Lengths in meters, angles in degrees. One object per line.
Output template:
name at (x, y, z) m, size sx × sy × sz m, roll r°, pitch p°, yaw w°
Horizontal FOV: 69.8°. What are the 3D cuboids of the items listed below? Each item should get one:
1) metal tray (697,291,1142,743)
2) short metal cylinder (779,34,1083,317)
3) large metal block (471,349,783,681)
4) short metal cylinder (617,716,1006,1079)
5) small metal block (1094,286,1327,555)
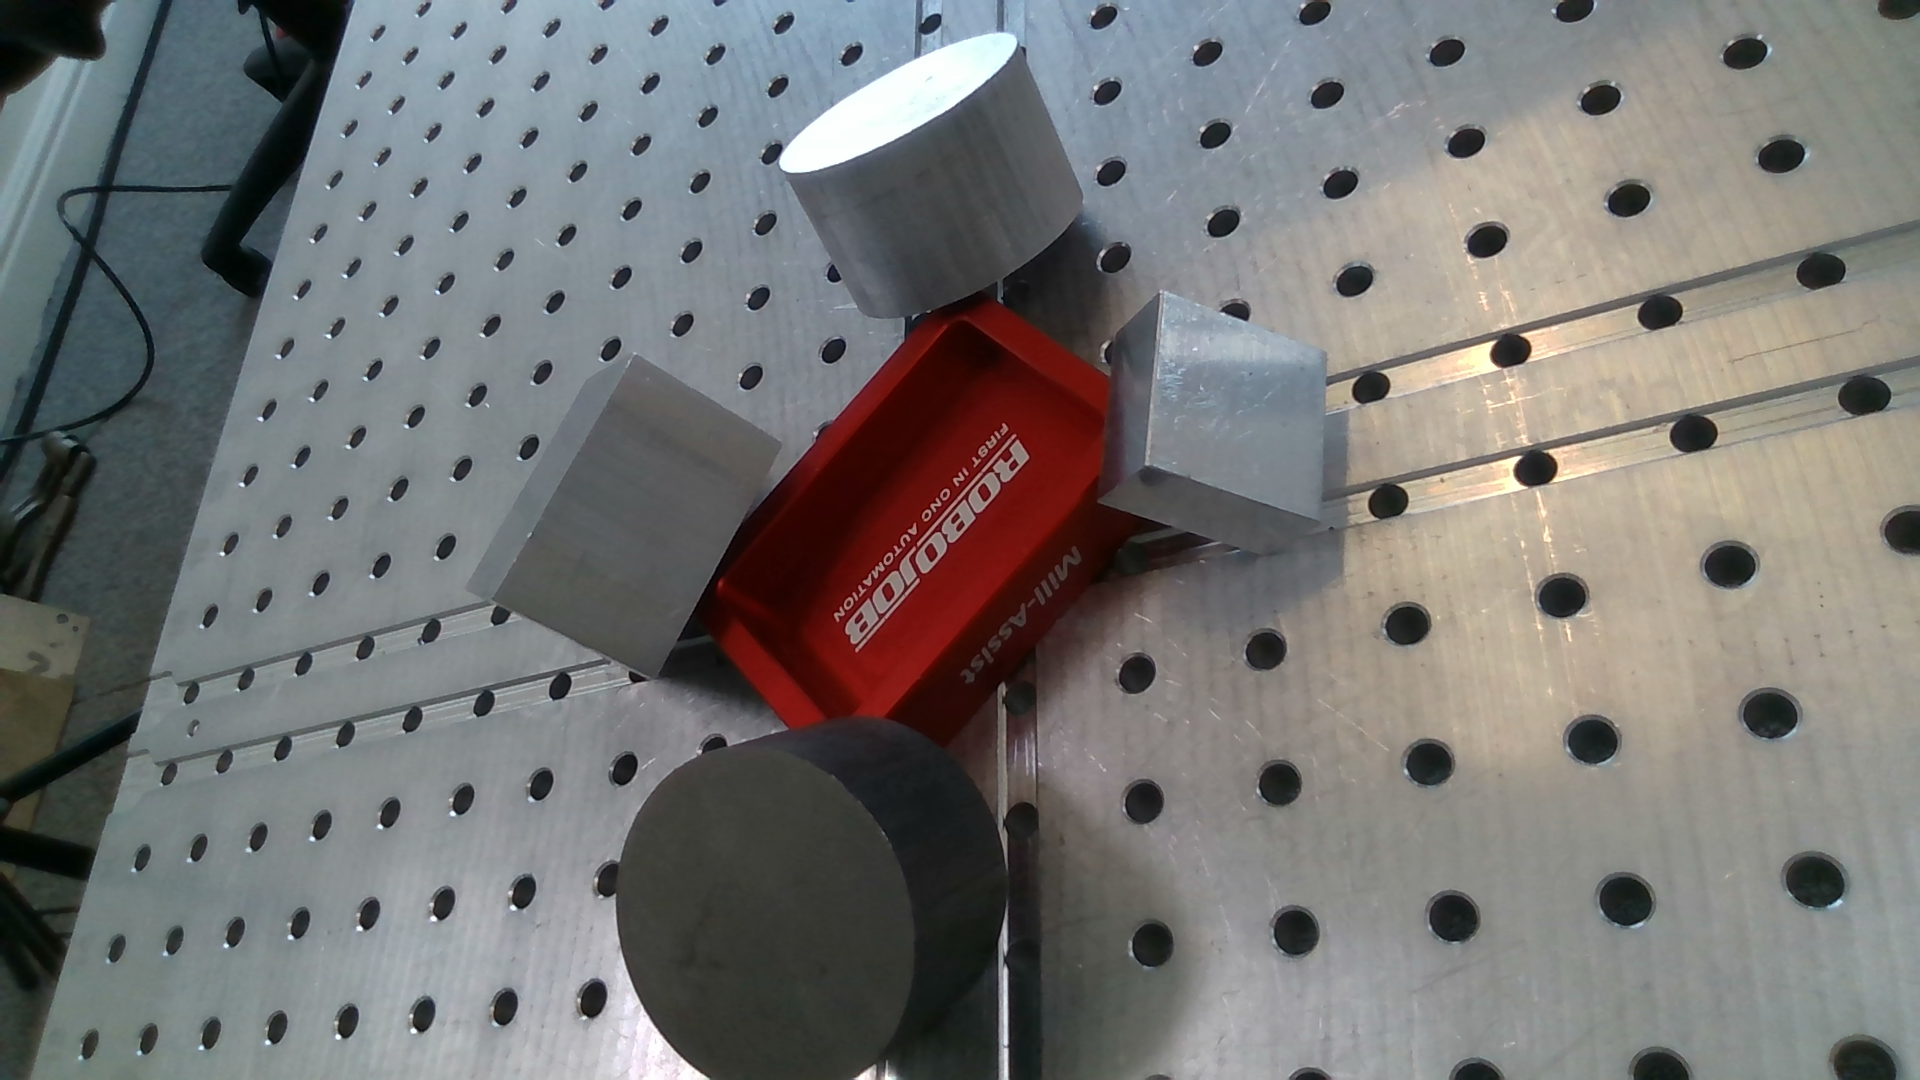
metal tray at (-0.010, -0.003, 0.399) m, size 0.130 × 0.030 × 0.090 m, roll -49°, pitch 51°, yaw 0°
short metal cylinder at (-0.009, -0.113, 0.426) m, size 0.080 × 0.050 × 0.080 m, roll -22°, pitch 31°, yaw 14°
large metal block at (-0.106, -0.007, 0.427) m, size 0.080 × 0.050 × 0.080 m, roll -63°, pitch 22°, yaw -11°
short metal cylinder at (-0.036, 0.086, 0.336) m, size 0.080 × 0.050 × 0.080 m, roll 1°, pitch 92°, yaw 26°
small metal block at (0.065, -0.030, 0.352) m, size 0.025 × 0.050 × 0.050 m, roll 141°, pitch 142°, yaw -60°
